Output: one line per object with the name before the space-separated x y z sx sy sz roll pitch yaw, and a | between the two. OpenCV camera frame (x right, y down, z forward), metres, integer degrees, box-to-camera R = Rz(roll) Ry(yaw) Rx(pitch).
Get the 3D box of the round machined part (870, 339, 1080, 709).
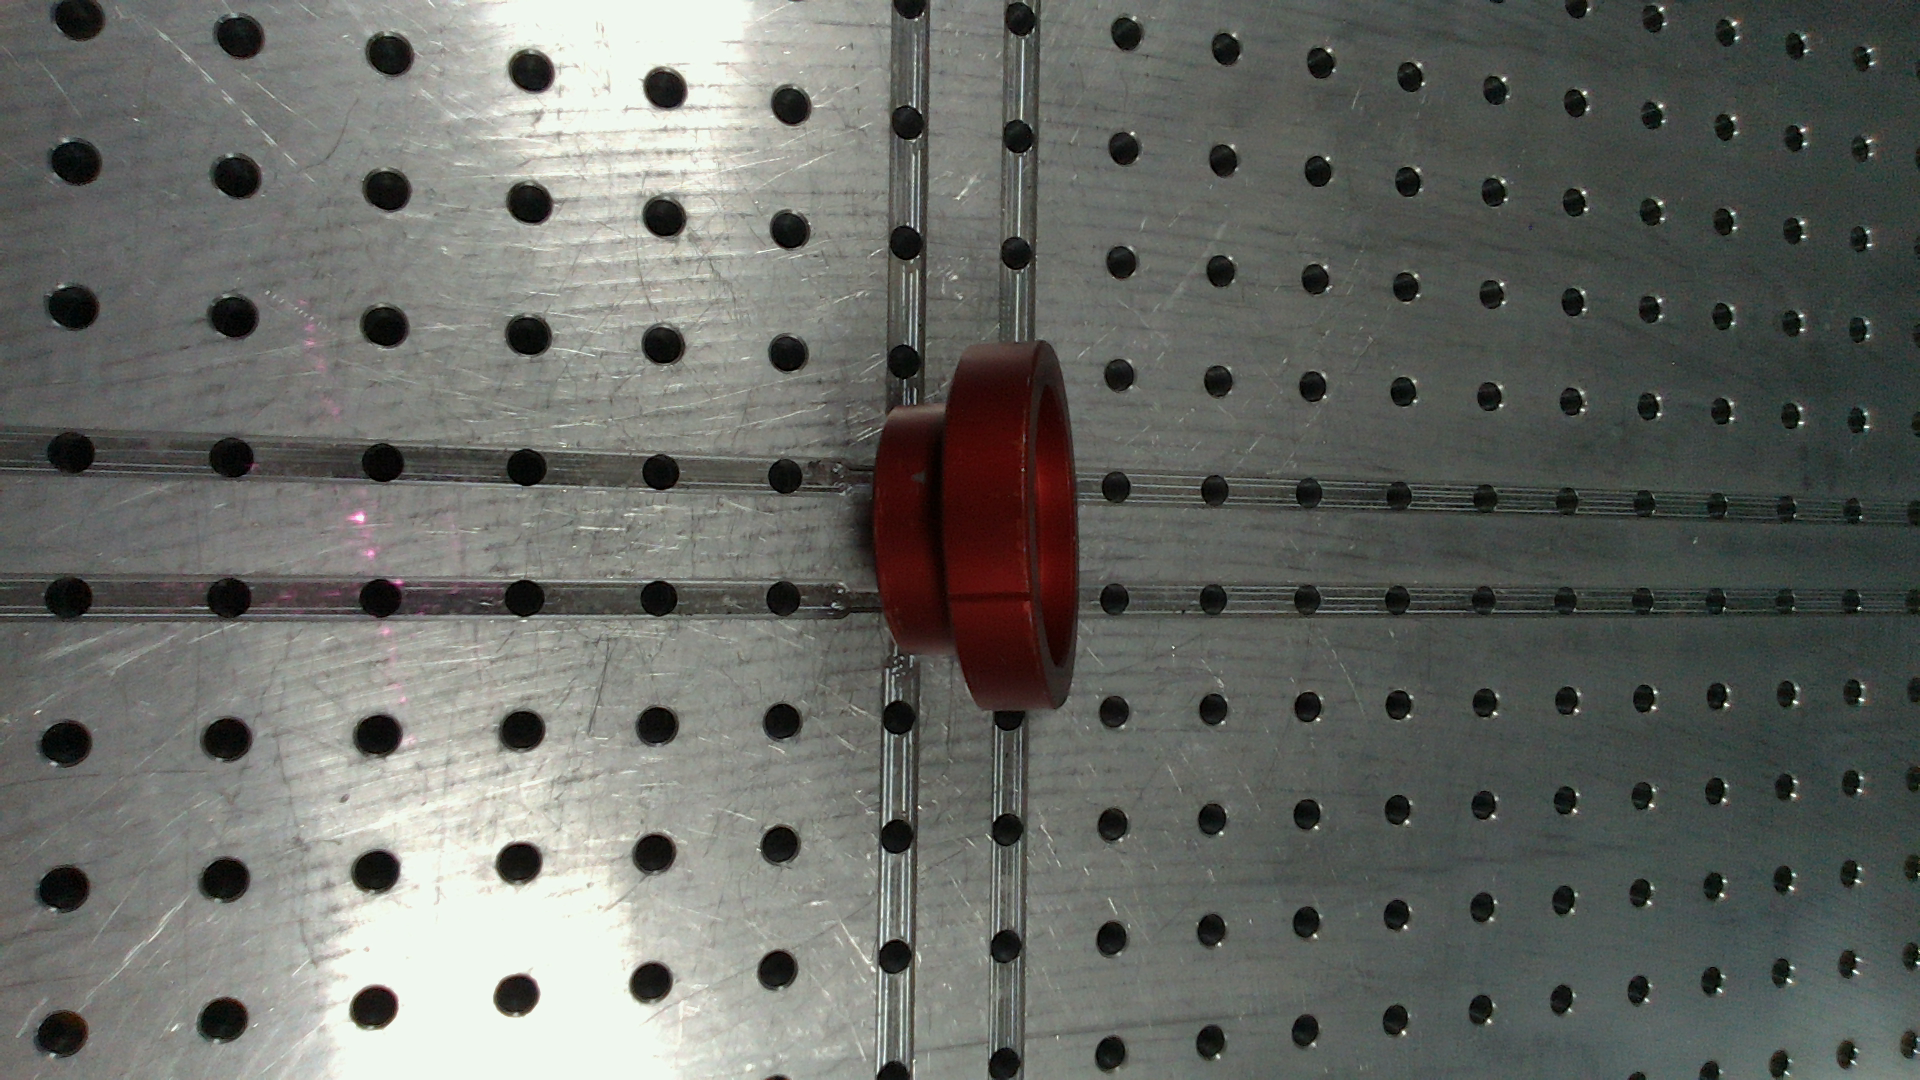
round machined part | 0.005 -0.004 0.368 0.042 0.098 0.098 -2 91 12
